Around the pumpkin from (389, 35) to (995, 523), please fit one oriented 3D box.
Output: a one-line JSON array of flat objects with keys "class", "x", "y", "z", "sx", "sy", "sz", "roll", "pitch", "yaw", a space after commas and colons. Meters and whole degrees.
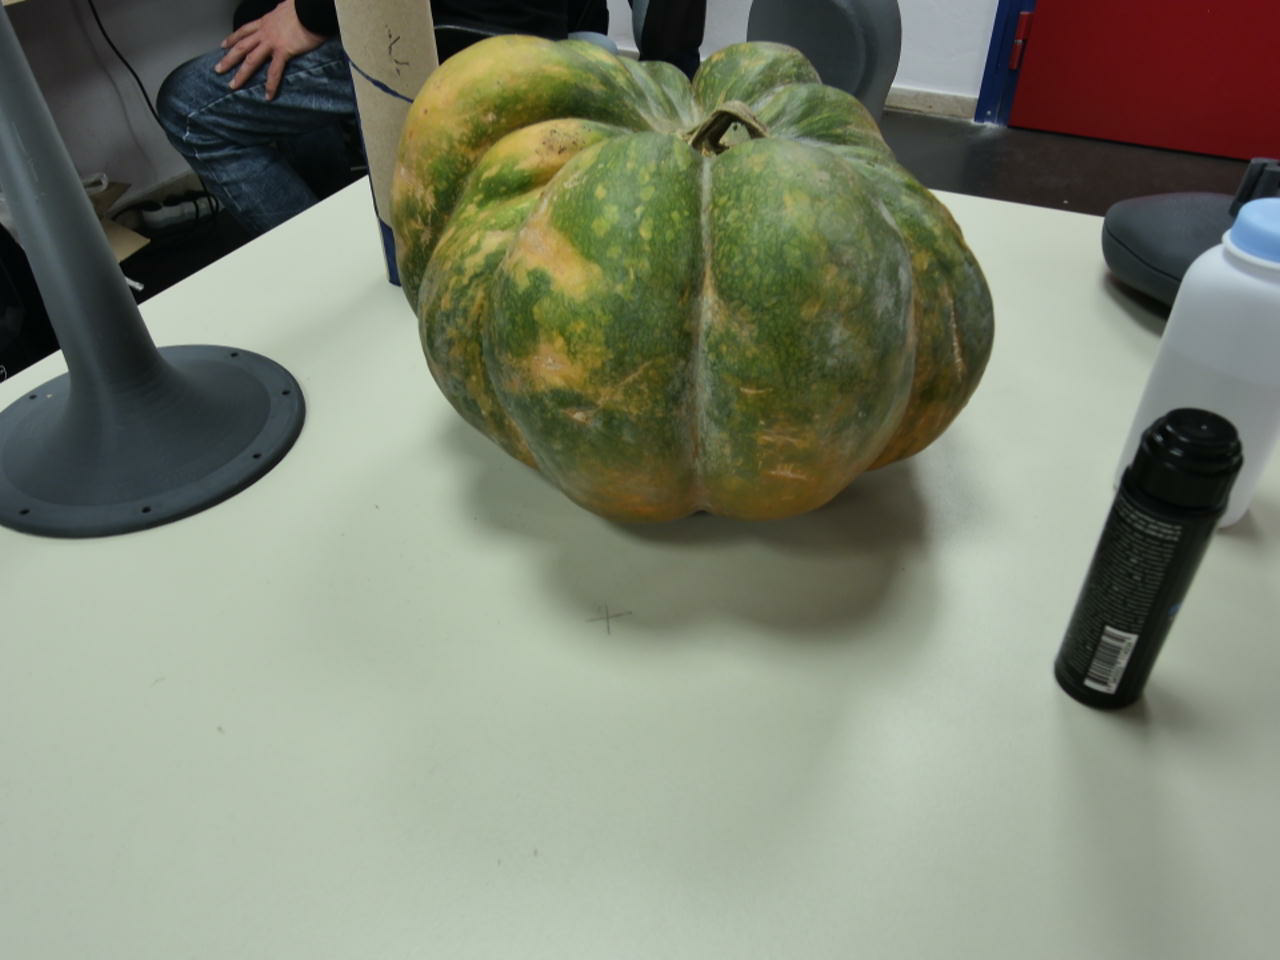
[{"class": "pumpkin", "x": 0.021, "y": -0.094, "z": 0.429, "sx": 0.237, "sy": 0.173, "sz": 0.270, "roll": -17, "pitch": 41, "yaw": -20}]
